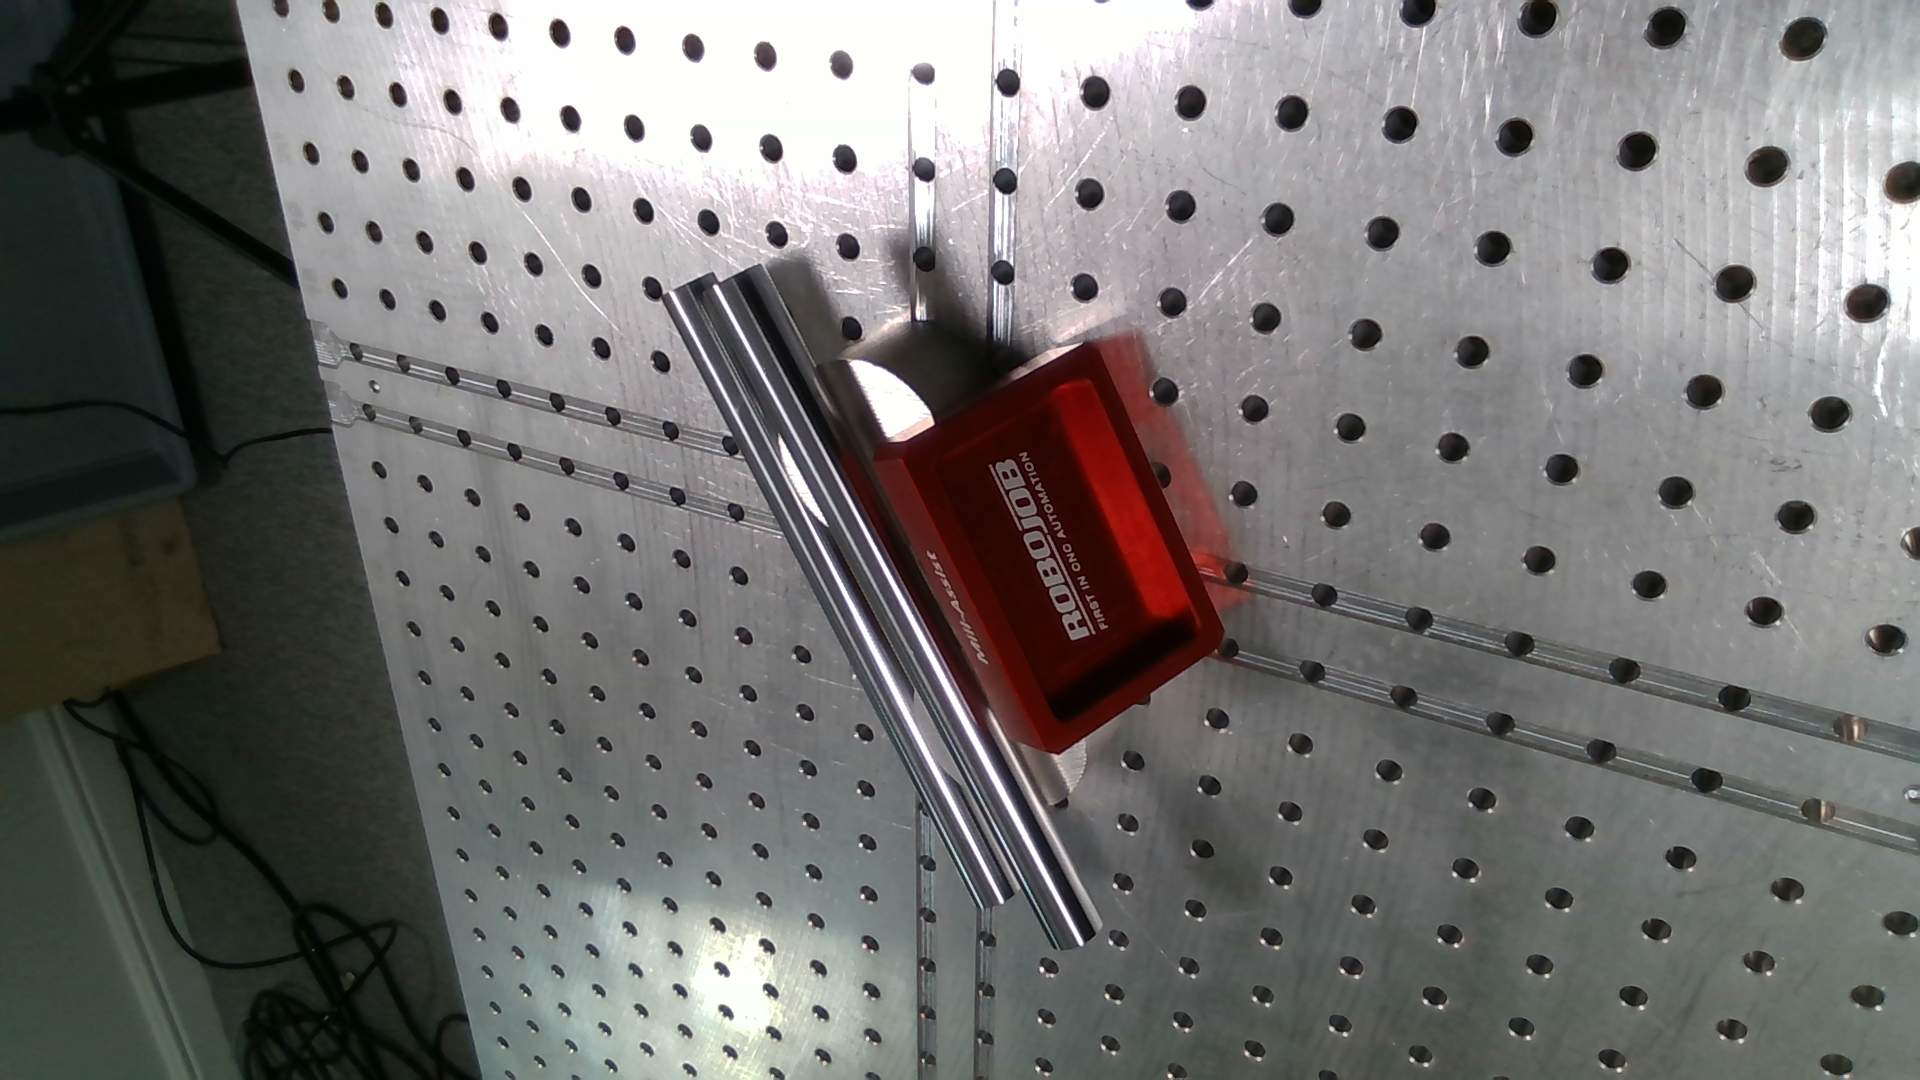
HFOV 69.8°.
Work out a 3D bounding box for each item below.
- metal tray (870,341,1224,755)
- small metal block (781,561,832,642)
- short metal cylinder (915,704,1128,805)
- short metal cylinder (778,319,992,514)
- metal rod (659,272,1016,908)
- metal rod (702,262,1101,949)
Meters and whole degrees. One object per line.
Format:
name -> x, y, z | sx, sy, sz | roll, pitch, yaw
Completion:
metal tray -> 0.035, 0.003, 0.519 | 0.130, 0.090, 0.030 | 64, 160, -13
small metal block -> -0.050, 0.020, 0.623 | 0.050, 0.025, 0.050 | 27, 126, 16
short metal cylinder -> 0.028, 0.066, 0.587 | 0.080, 0.050, 0.080 | 14, 122, 25
short metal cylinder -> -0.027, -0.044, 0.559 | 0.080, 0.050, 0.080 | 14, 122, 25
metal rod -> -0.047, 0.028, 0.594 | 0.025, 0.025, 0.300 | -16, 106, 37
metal rod -> -0.019, 0.032, 0.546 | 0.025, 0.025, 0.300 | -18, 105, 37
